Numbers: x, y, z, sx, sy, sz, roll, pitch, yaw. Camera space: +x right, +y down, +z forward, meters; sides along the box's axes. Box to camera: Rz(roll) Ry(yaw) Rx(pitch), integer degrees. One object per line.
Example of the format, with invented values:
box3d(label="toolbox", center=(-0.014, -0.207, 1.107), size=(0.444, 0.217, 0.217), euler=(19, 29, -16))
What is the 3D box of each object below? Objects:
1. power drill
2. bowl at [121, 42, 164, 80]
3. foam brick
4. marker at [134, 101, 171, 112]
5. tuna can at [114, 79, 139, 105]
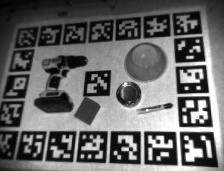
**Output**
box3d(label="power drill", center=(-0.201, -0.018, 0.807), size=(0.184, 0.058, 0.186), euler=(-2, 68, 8))
box3d(label="bowl", center=(0.105, -0.102, 0.777), size=(0.161, 0.056, 0.161), euler=(-6, 63, 13))
box3d(label="foam brick", center=(-0.092, 0.085, 0.752), size=(0.051, 0.053, 0.078), euler=(22, 78, 18))
box3d(label="marker", center=(0.134, 0.070, 0.718), size=(0.120, 0.020, 0.019), euler=(-12, 70, 8))
box3d(label="tuna can", center=(0.051, 0.022, 0.746), size=(0.085, 0.034, 0.085), euler=(-3, 71, 9))
